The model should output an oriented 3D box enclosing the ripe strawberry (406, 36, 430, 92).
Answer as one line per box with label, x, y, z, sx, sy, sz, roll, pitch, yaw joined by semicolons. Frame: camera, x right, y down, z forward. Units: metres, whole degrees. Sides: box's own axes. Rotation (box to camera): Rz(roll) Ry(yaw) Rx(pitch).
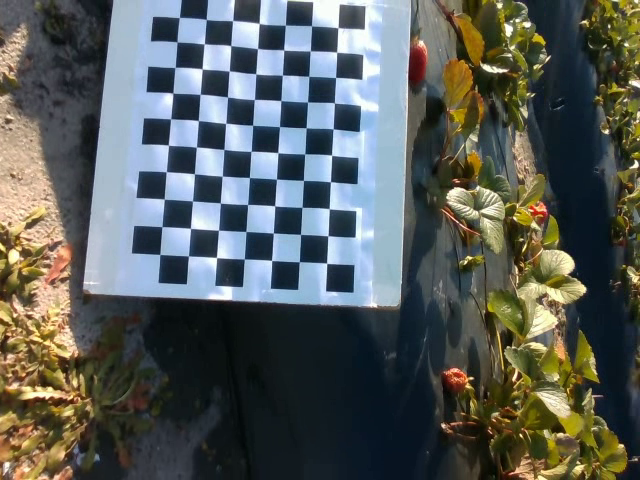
ripe strawberry;0.111;-0.202;0.660;0.044;0.064;0.044;-14;-5;-5
